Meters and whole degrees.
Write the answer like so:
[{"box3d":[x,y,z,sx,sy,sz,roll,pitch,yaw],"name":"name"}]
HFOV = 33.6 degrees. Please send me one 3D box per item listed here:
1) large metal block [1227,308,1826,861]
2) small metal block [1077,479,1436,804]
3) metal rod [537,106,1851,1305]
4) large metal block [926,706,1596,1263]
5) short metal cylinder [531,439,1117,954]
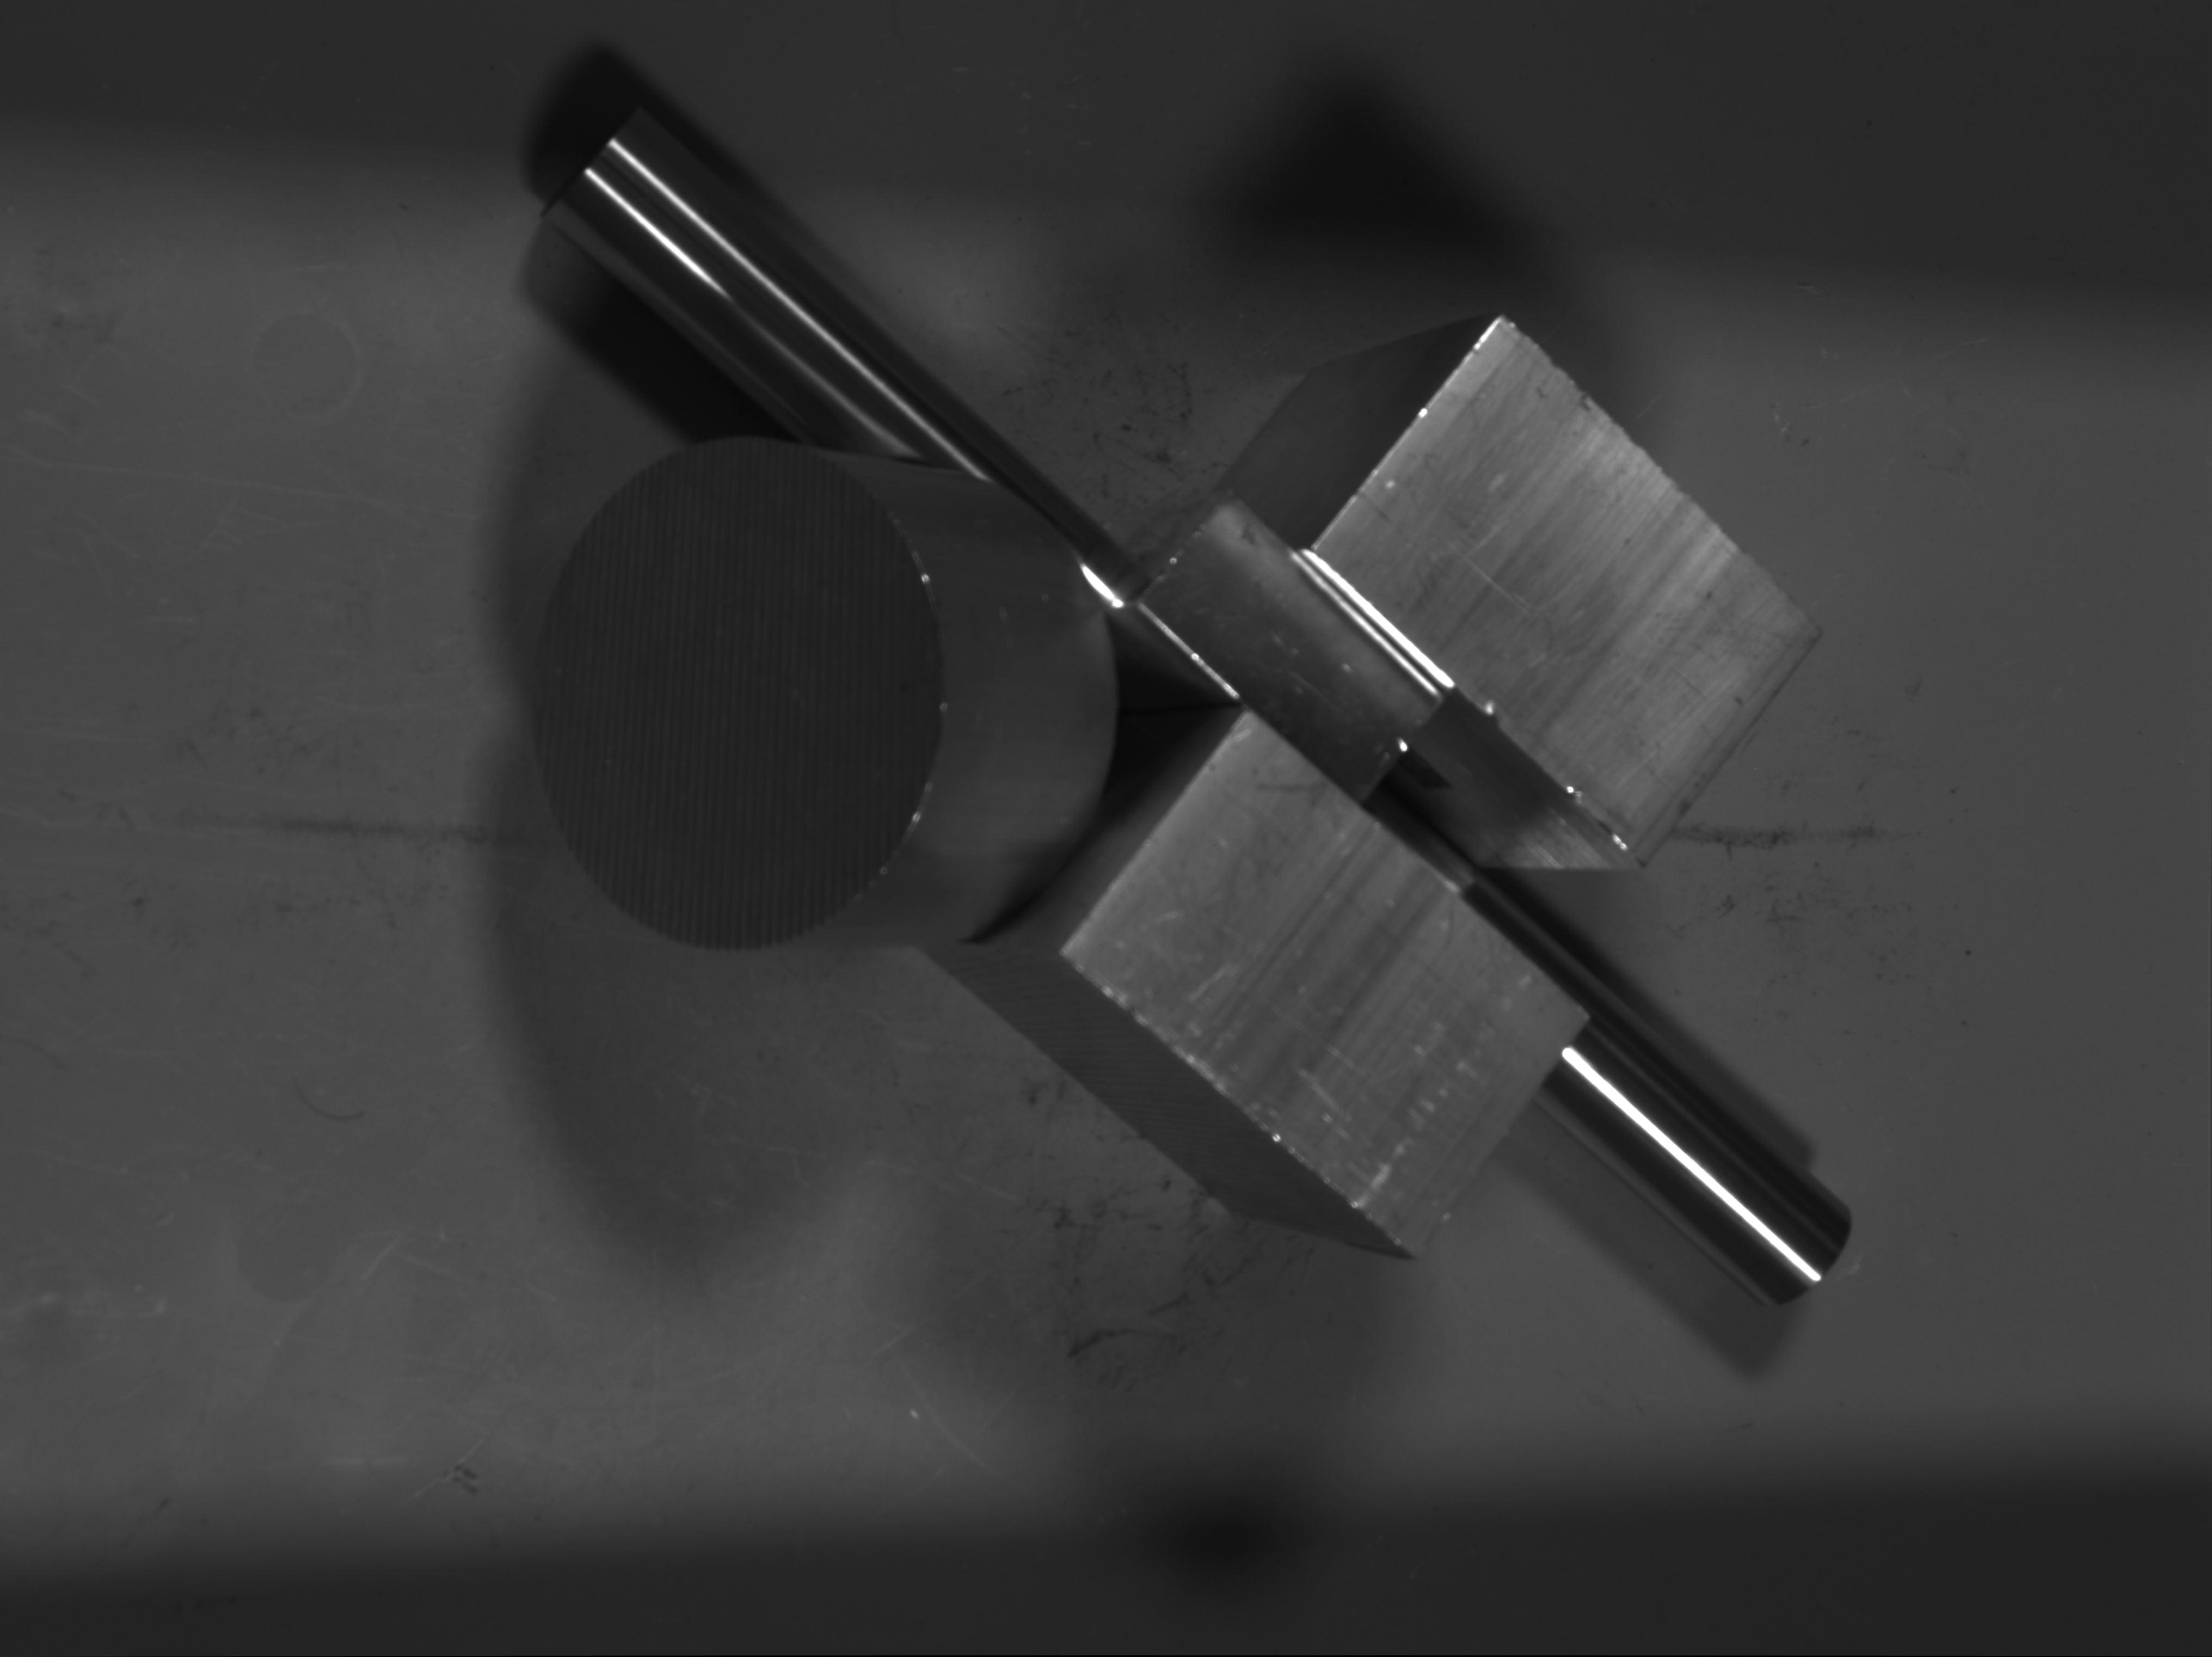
[{"box3d":[0.064,-0.040,0.637,0.080,0.080,0.050,42,77,-15],"name":"large metal block"},{"box3d":[0.020,-0.030,0.612,0.050,0.050,0.025,43,77,-15],"name":"small metal block"},{"box3d":[0.022,-0.016,0.651,0.300,0.025,0.025,41,77,-15],"name":"metal rod"},{"box3d":[0.023,0.025,0.622,0.080,0.080,0.050,41,77,-15],"name":"large metal block"},{"box3d":[-0.045,-0.020,0.590,0.050,0.080,0.080,1,89,-59],"name":"short metal cylinder"}]
